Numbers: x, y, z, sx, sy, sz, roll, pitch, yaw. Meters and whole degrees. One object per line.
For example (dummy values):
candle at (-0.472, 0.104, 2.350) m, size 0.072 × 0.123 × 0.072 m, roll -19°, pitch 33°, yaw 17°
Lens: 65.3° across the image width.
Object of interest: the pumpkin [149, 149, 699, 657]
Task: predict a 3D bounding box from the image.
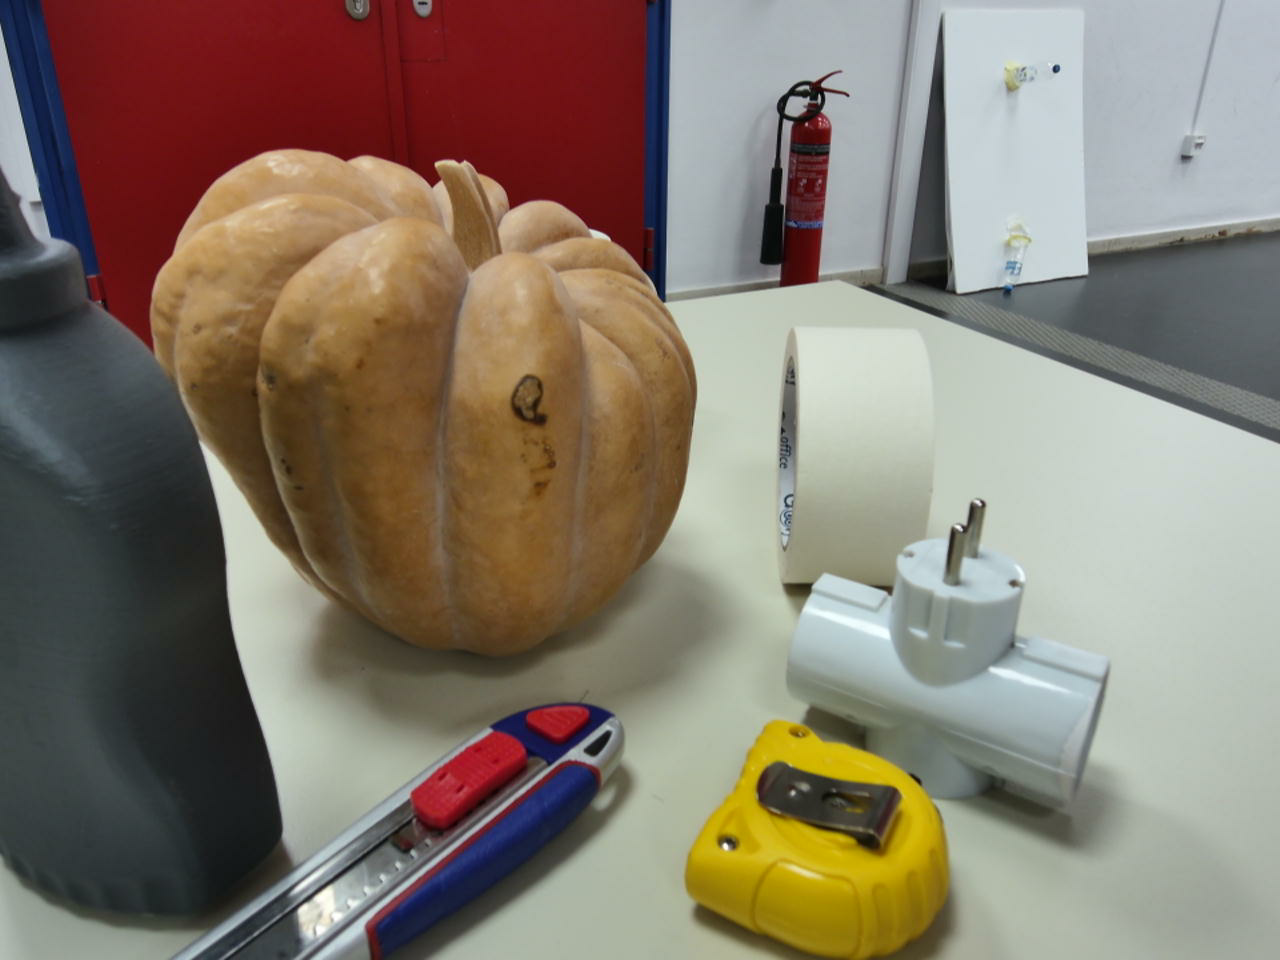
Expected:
pumpkin at (-0.074, -0.030, 0.374) m, size 0.199 × 0.177 × 0.198 m, roll 0°, pitch 24°, yaw 0°
